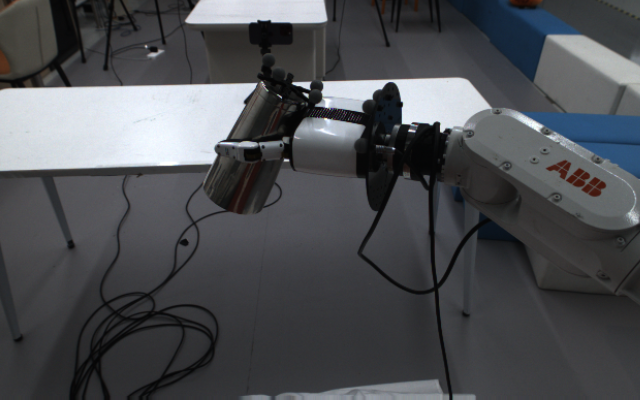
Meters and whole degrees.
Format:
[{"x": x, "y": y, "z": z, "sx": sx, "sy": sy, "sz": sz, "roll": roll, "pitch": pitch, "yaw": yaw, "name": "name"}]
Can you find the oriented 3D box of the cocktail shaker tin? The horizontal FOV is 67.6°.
[{"x": -0.083, "y": -0.077, "z": 0.653, "sx": 0.093, "sy": 0.170, "sz": 0.093, "roll": 25, "pitch": 29, "yaw": -15, "name": "cocktail shaker tin"}]
